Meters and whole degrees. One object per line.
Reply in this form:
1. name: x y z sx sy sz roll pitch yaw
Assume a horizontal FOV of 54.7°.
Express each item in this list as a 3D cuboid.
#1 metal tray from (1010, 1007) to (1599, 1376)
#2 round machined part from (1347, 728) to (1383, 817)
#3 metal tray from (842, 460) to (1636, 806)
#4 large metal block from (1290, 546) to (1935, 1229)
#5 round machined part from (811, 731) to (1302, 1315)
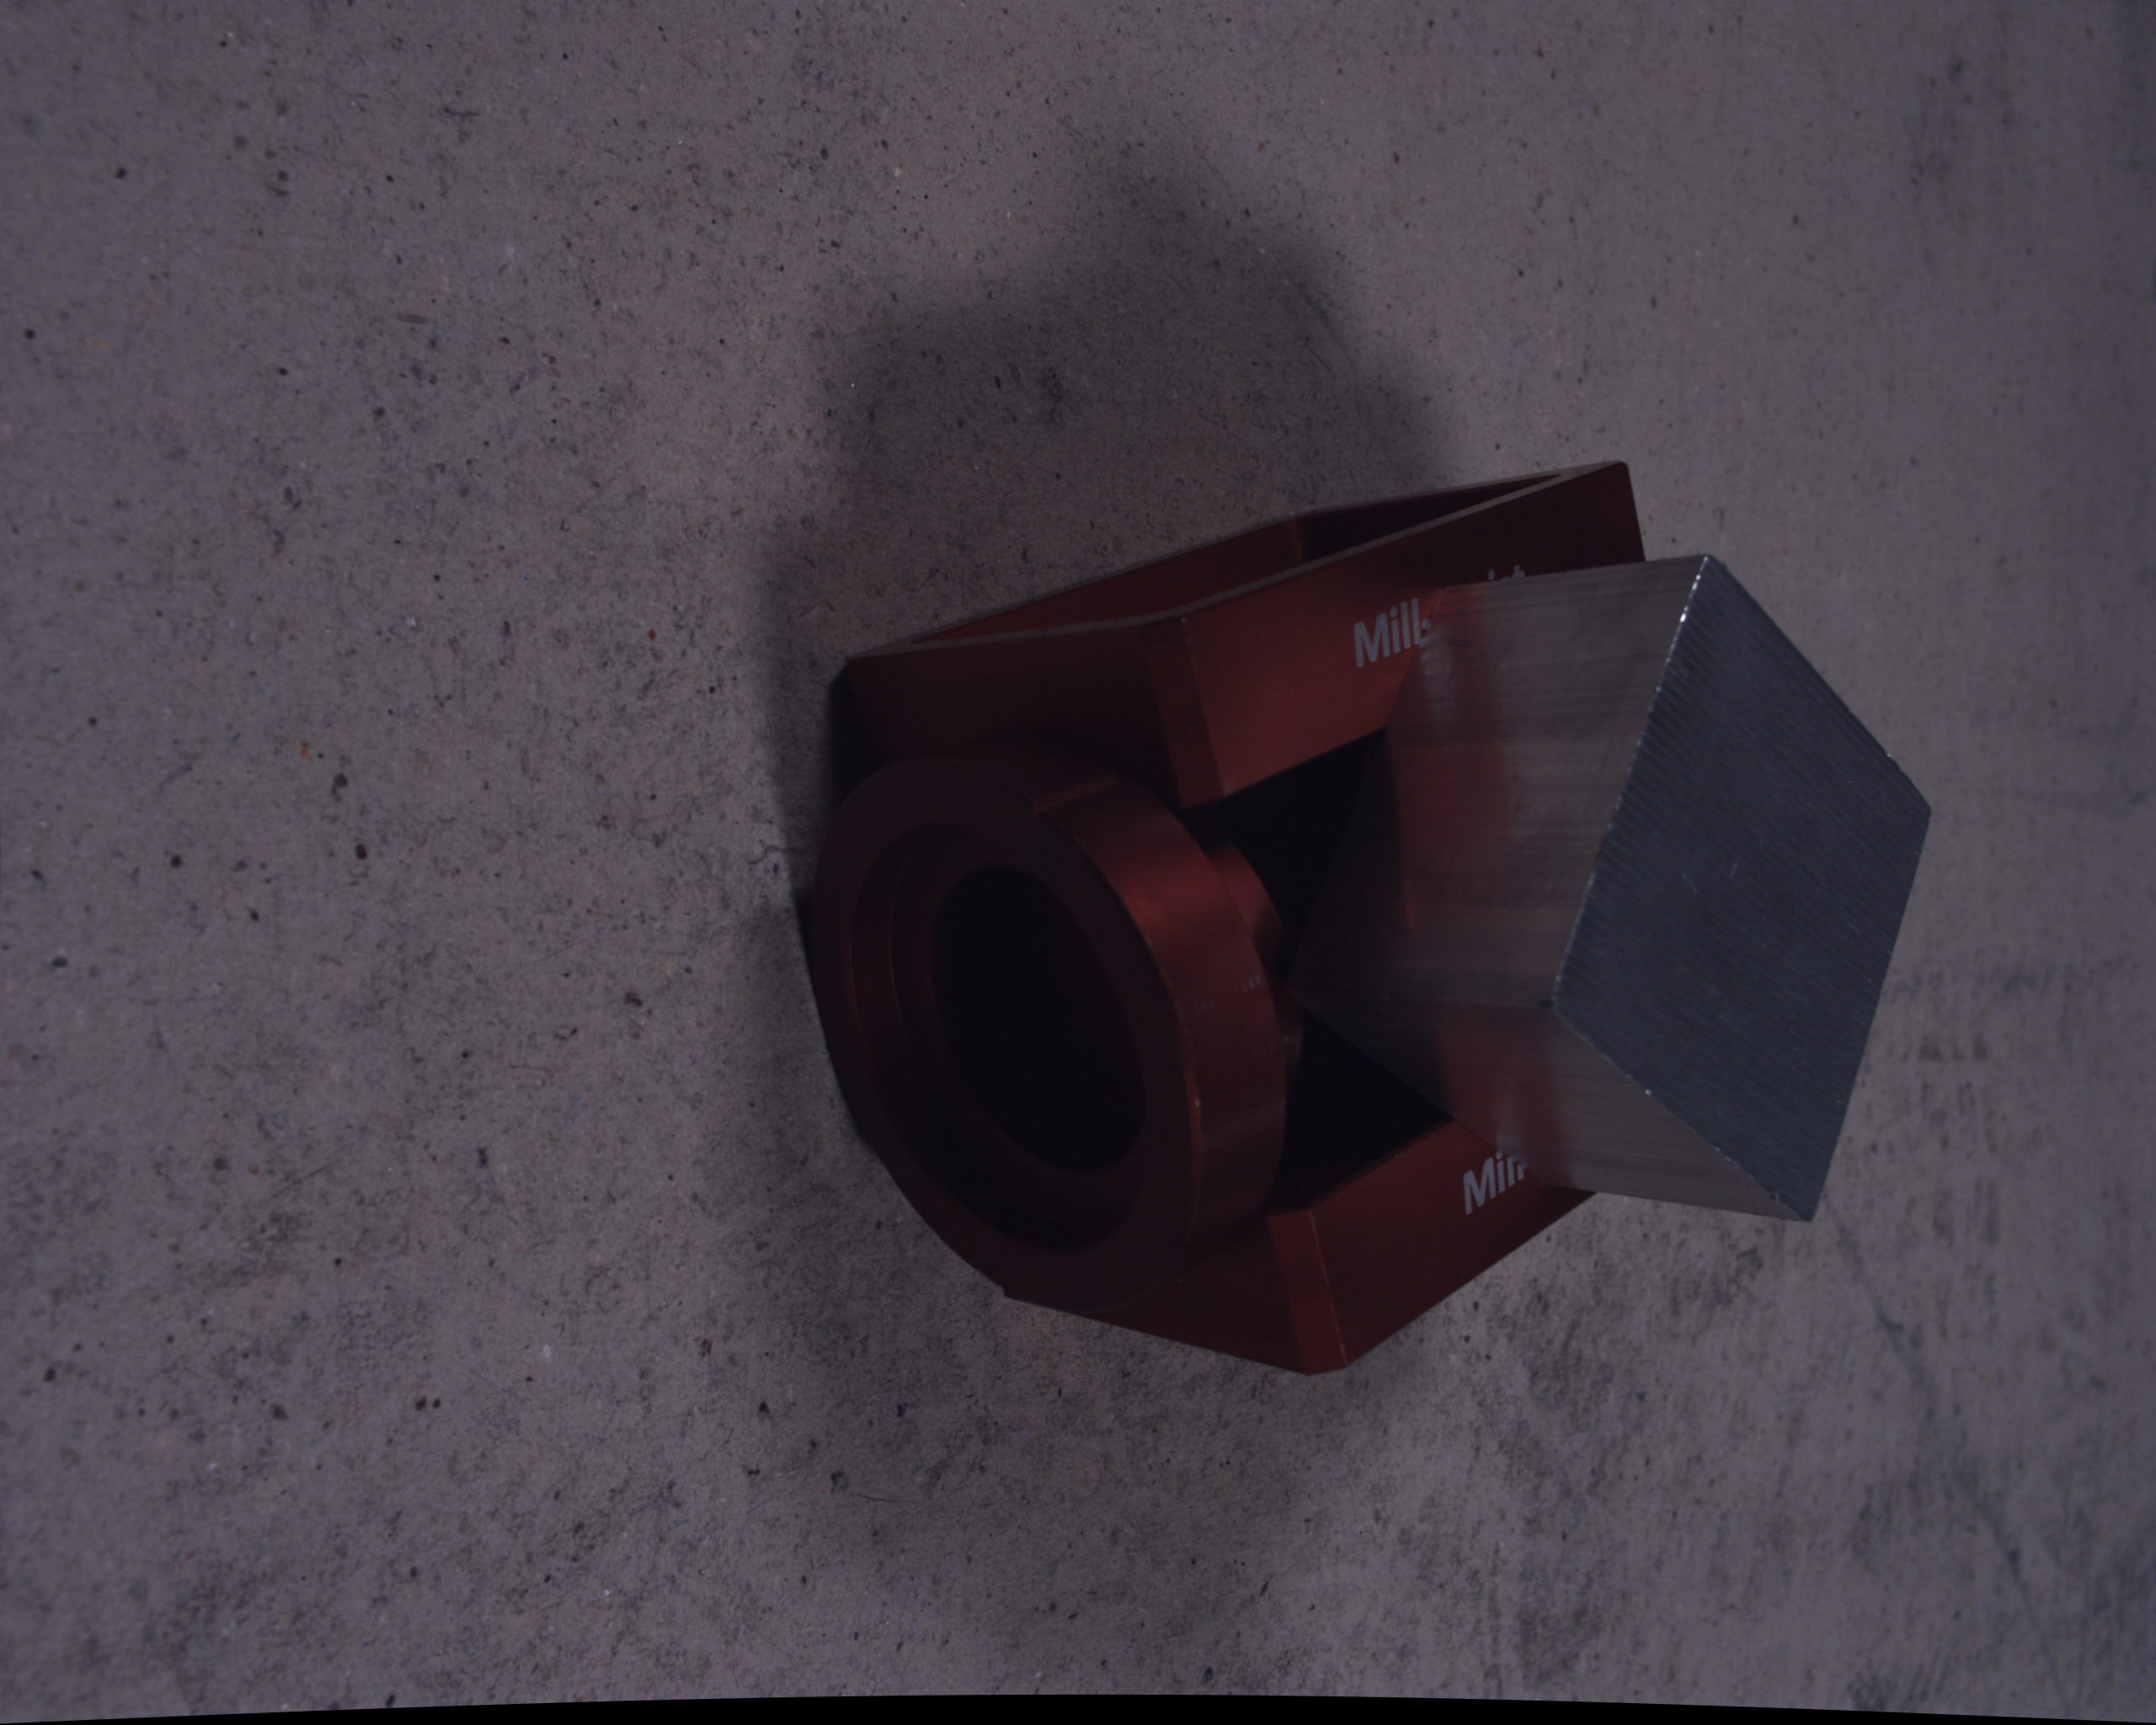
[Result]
1. metal tray: 0.057 0.051 0.412 0.131 0.090 0.030 -23 105 -38
2. round machined part: 0.096 -0.015 0.441 0.042 0.098 0.097 -20 103 -39
3. metal tray: 0.034 -0.044 0.395 0.131 0.090 0.030 -23 105 -38
4. large metal block: 0.092 0.005 0.349 0.080 0.050 0.080 37 67 -34
5. round machined part: 0.000 0.024 0.360 0.042 0.098 0.097 -20 103 -39
